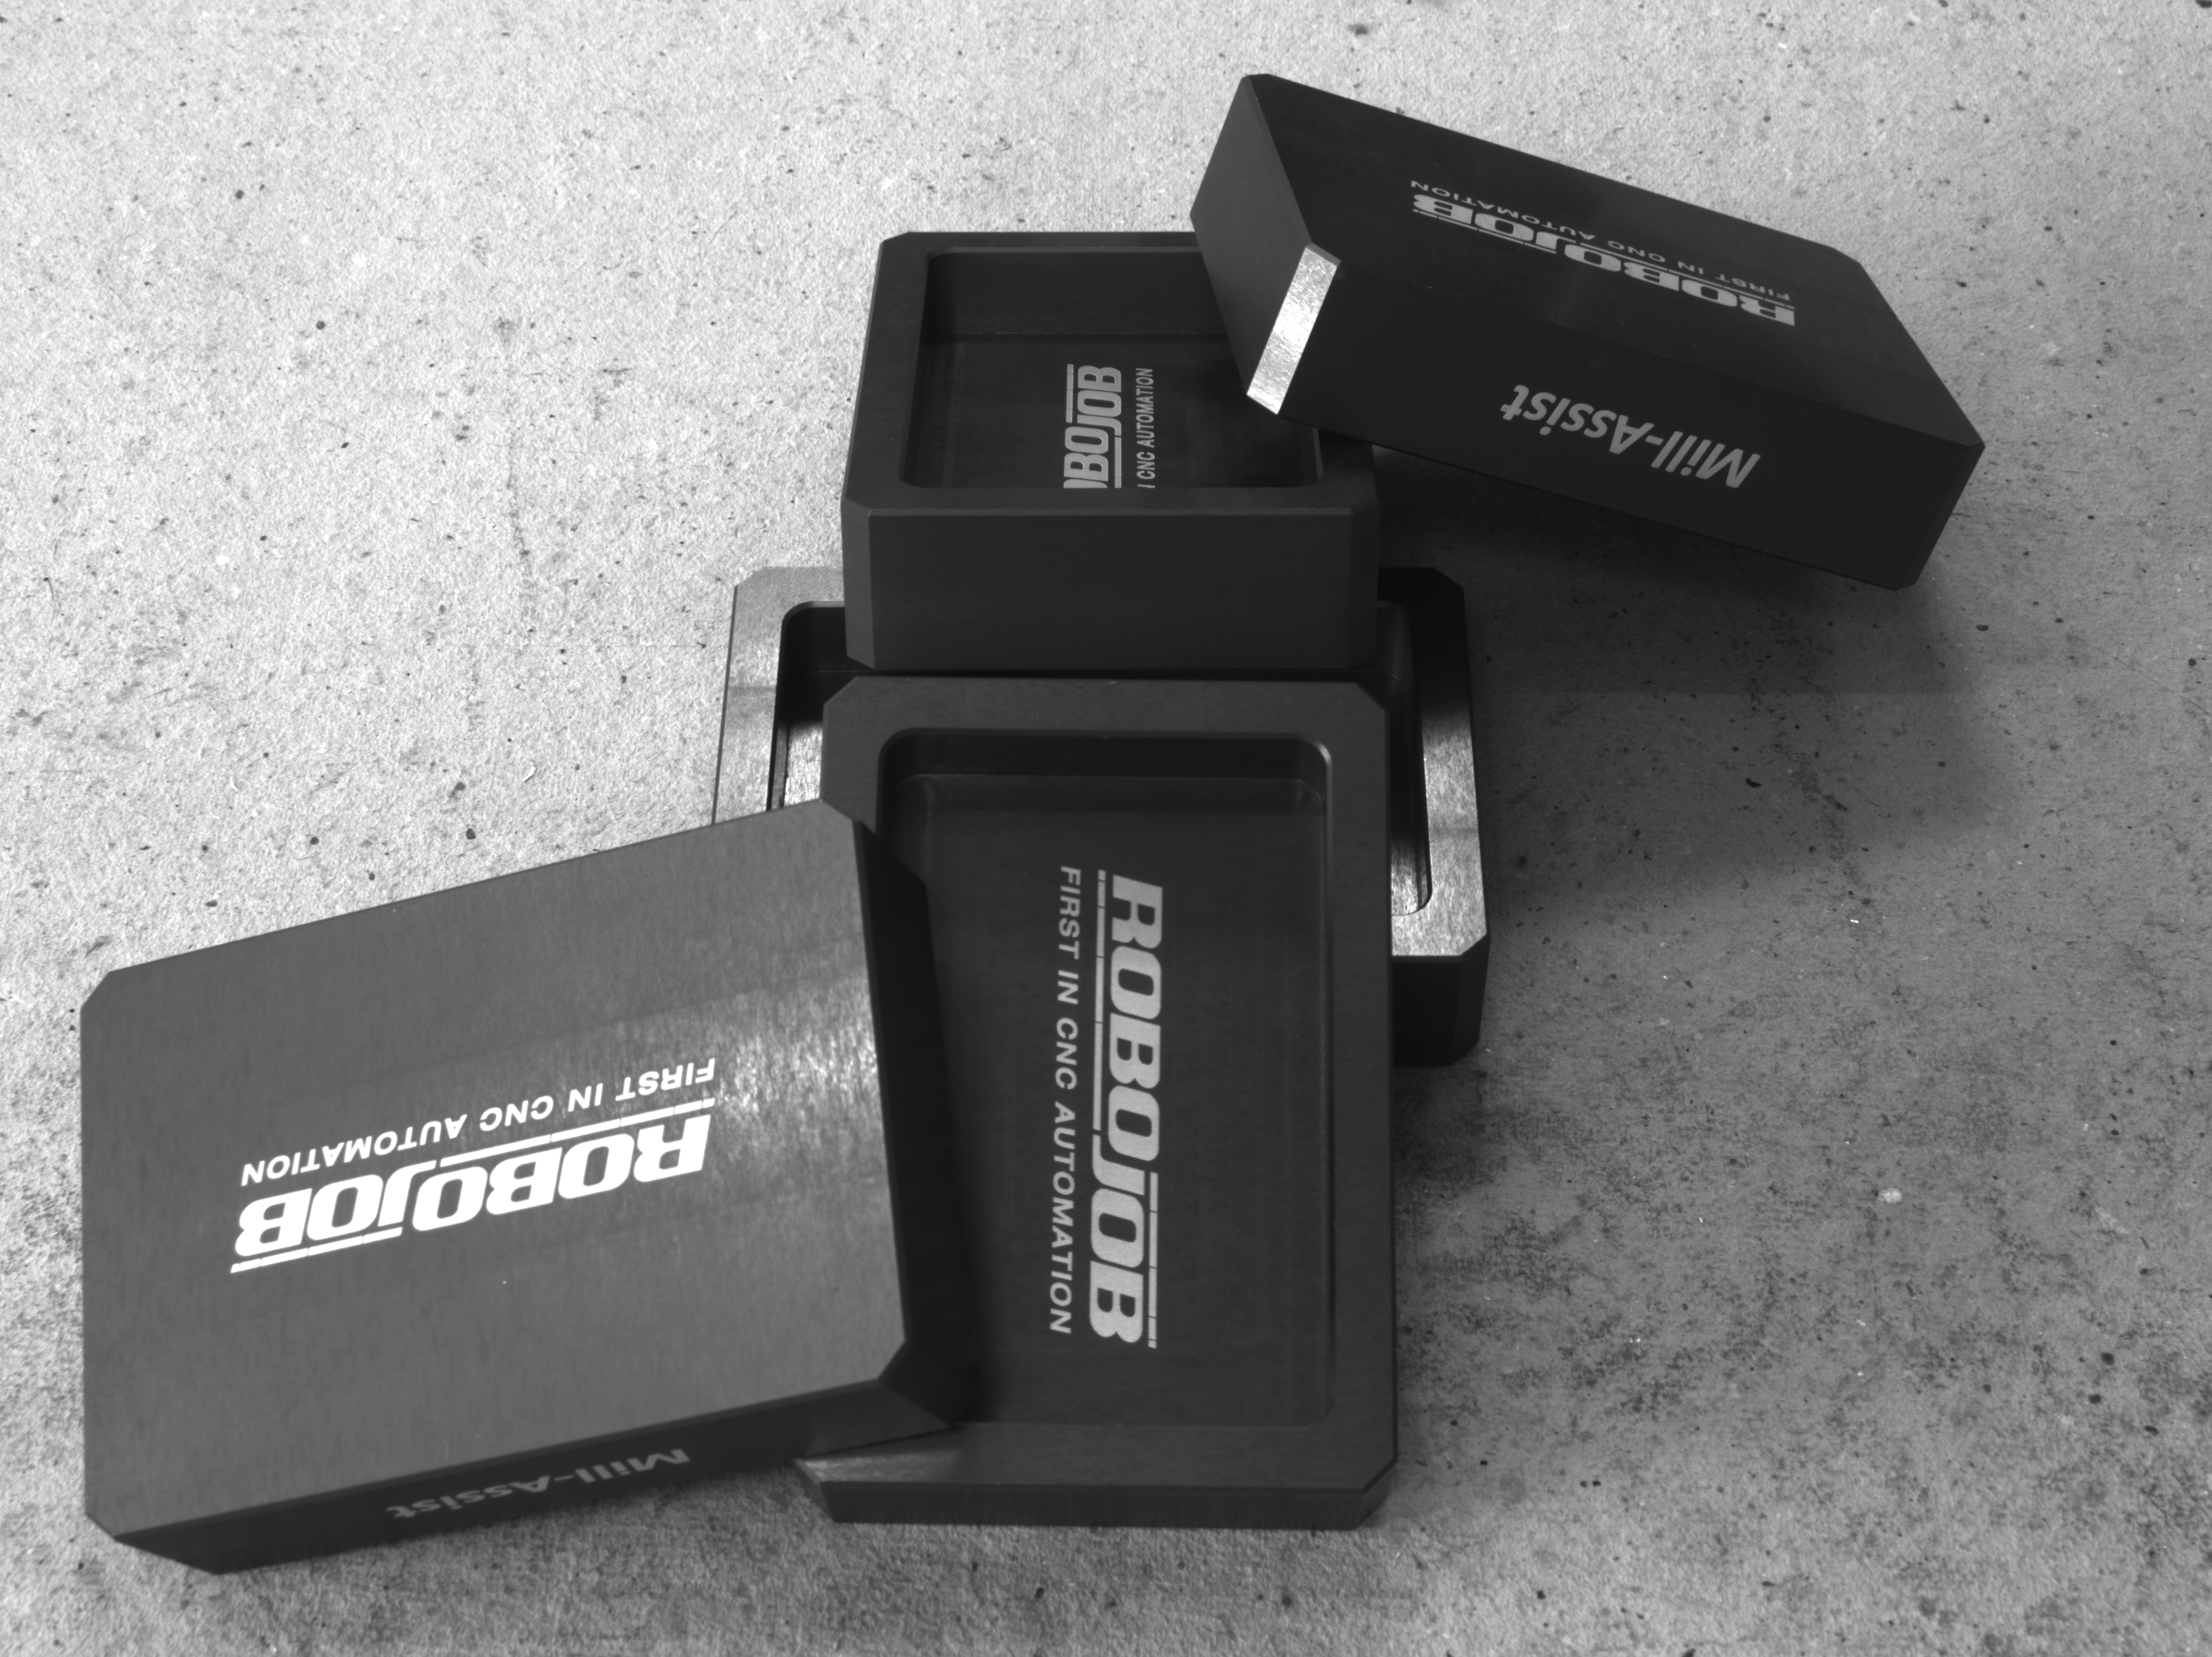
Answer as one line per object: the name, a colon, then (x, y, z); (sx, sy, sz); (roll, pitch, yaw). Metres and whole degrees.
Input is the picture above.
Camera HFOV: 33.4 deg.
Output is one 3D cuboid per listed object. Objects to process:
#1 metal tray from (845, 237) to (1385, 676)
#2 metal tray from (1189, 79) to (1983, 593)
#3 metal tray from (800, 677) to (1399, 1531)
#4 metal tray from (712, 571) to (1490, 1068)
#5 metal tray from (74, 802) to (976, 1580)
metal tray: (0.002, -0.071, 0.673); (0.090, 0.030, 0.130); (0, 30, 0)
metal tray: (0.085, -0.091, 0.675); (0.130, 0.030, 0.090); (14, 29, -15)
metal tray: (-0.001, 0.042, 0.578); (0.090, 0.030, 0.130); (1, 69, 1)
metal tray: (-0.002, -0.003, 0.643); (0.130, 0.030, 0.090); (0, 50, 0)
metal tray: (-0.090, 0.055, 0.555); (0.130, 0.030, 0.090); (-13, 65, 12)
